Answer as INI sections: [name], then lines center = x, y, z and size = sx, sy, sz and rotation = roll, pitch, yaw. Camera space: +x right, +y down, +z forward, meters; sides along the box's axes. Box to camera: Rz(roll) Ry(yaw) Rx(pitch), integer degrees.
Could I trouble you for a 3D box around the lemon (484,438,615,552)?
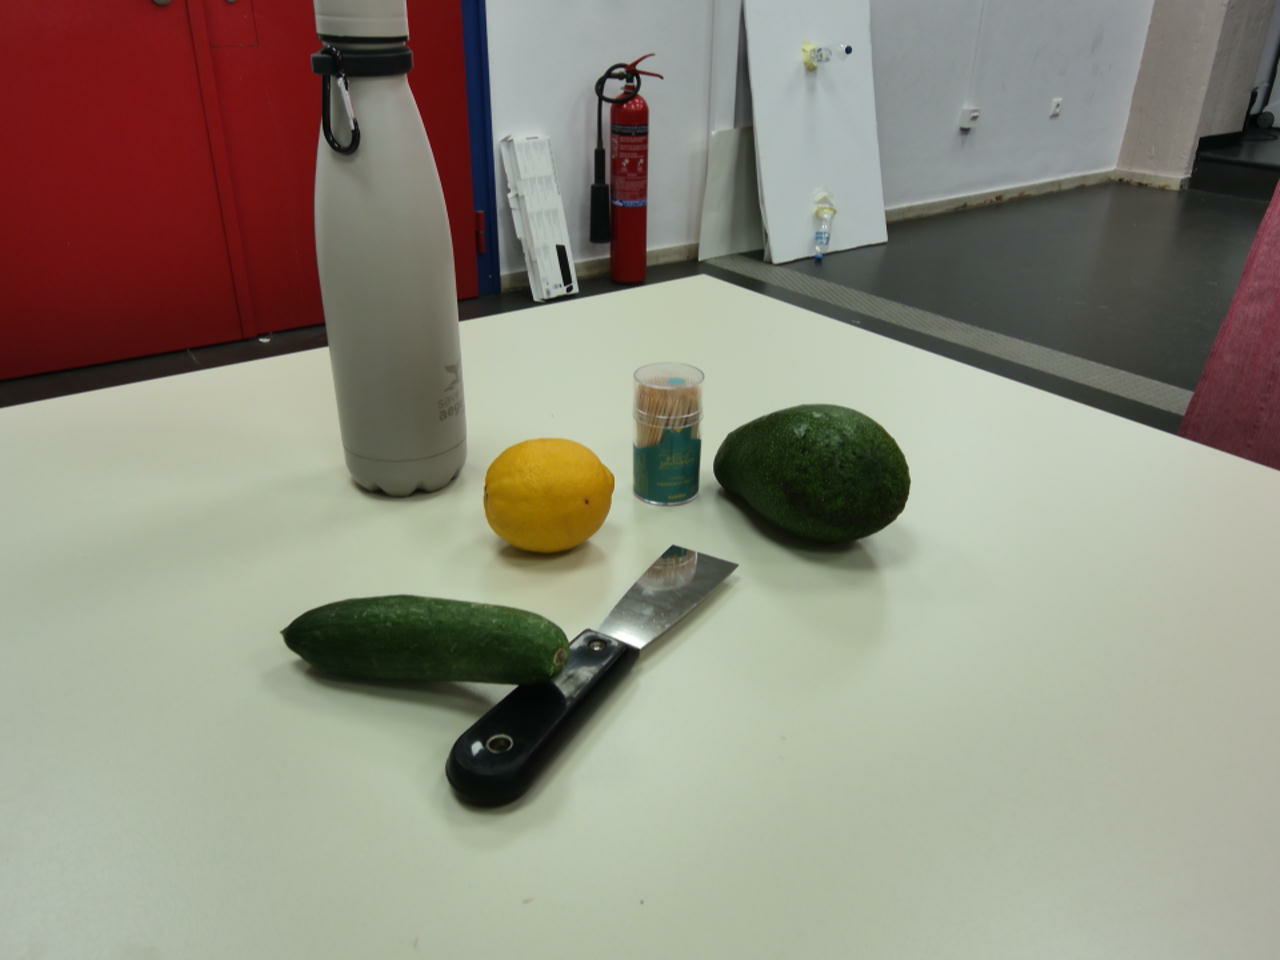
[lemon]
center = -0.048, 0.008, 0.520
size = 0.067, 0.059, 0.060
rotation = 4, 25, 4
